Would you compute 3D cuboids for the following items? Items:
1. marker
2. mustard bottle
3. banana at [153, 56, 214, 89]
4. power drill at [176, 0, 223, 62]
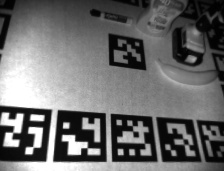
[{"bbox_3d":[-0.007,-0.200,0.625,0.122,0.019,0.019,9,65,-15],"label":"marker"},{"bbox_3d":[0.138,-0.209,0.581,0.097,0.191,0.058,18,62,-11],"label":"mustard bottle"},{"bbox_3d":[0.206,-0.027,0.614,0.198,0.039,0.074,14,65,-11],"label":"banana"},{"bbox_3d":[0.243,-0.144,0.570,0.058,0.186,0.184,21,59,-10],"label":"power drill"}]
